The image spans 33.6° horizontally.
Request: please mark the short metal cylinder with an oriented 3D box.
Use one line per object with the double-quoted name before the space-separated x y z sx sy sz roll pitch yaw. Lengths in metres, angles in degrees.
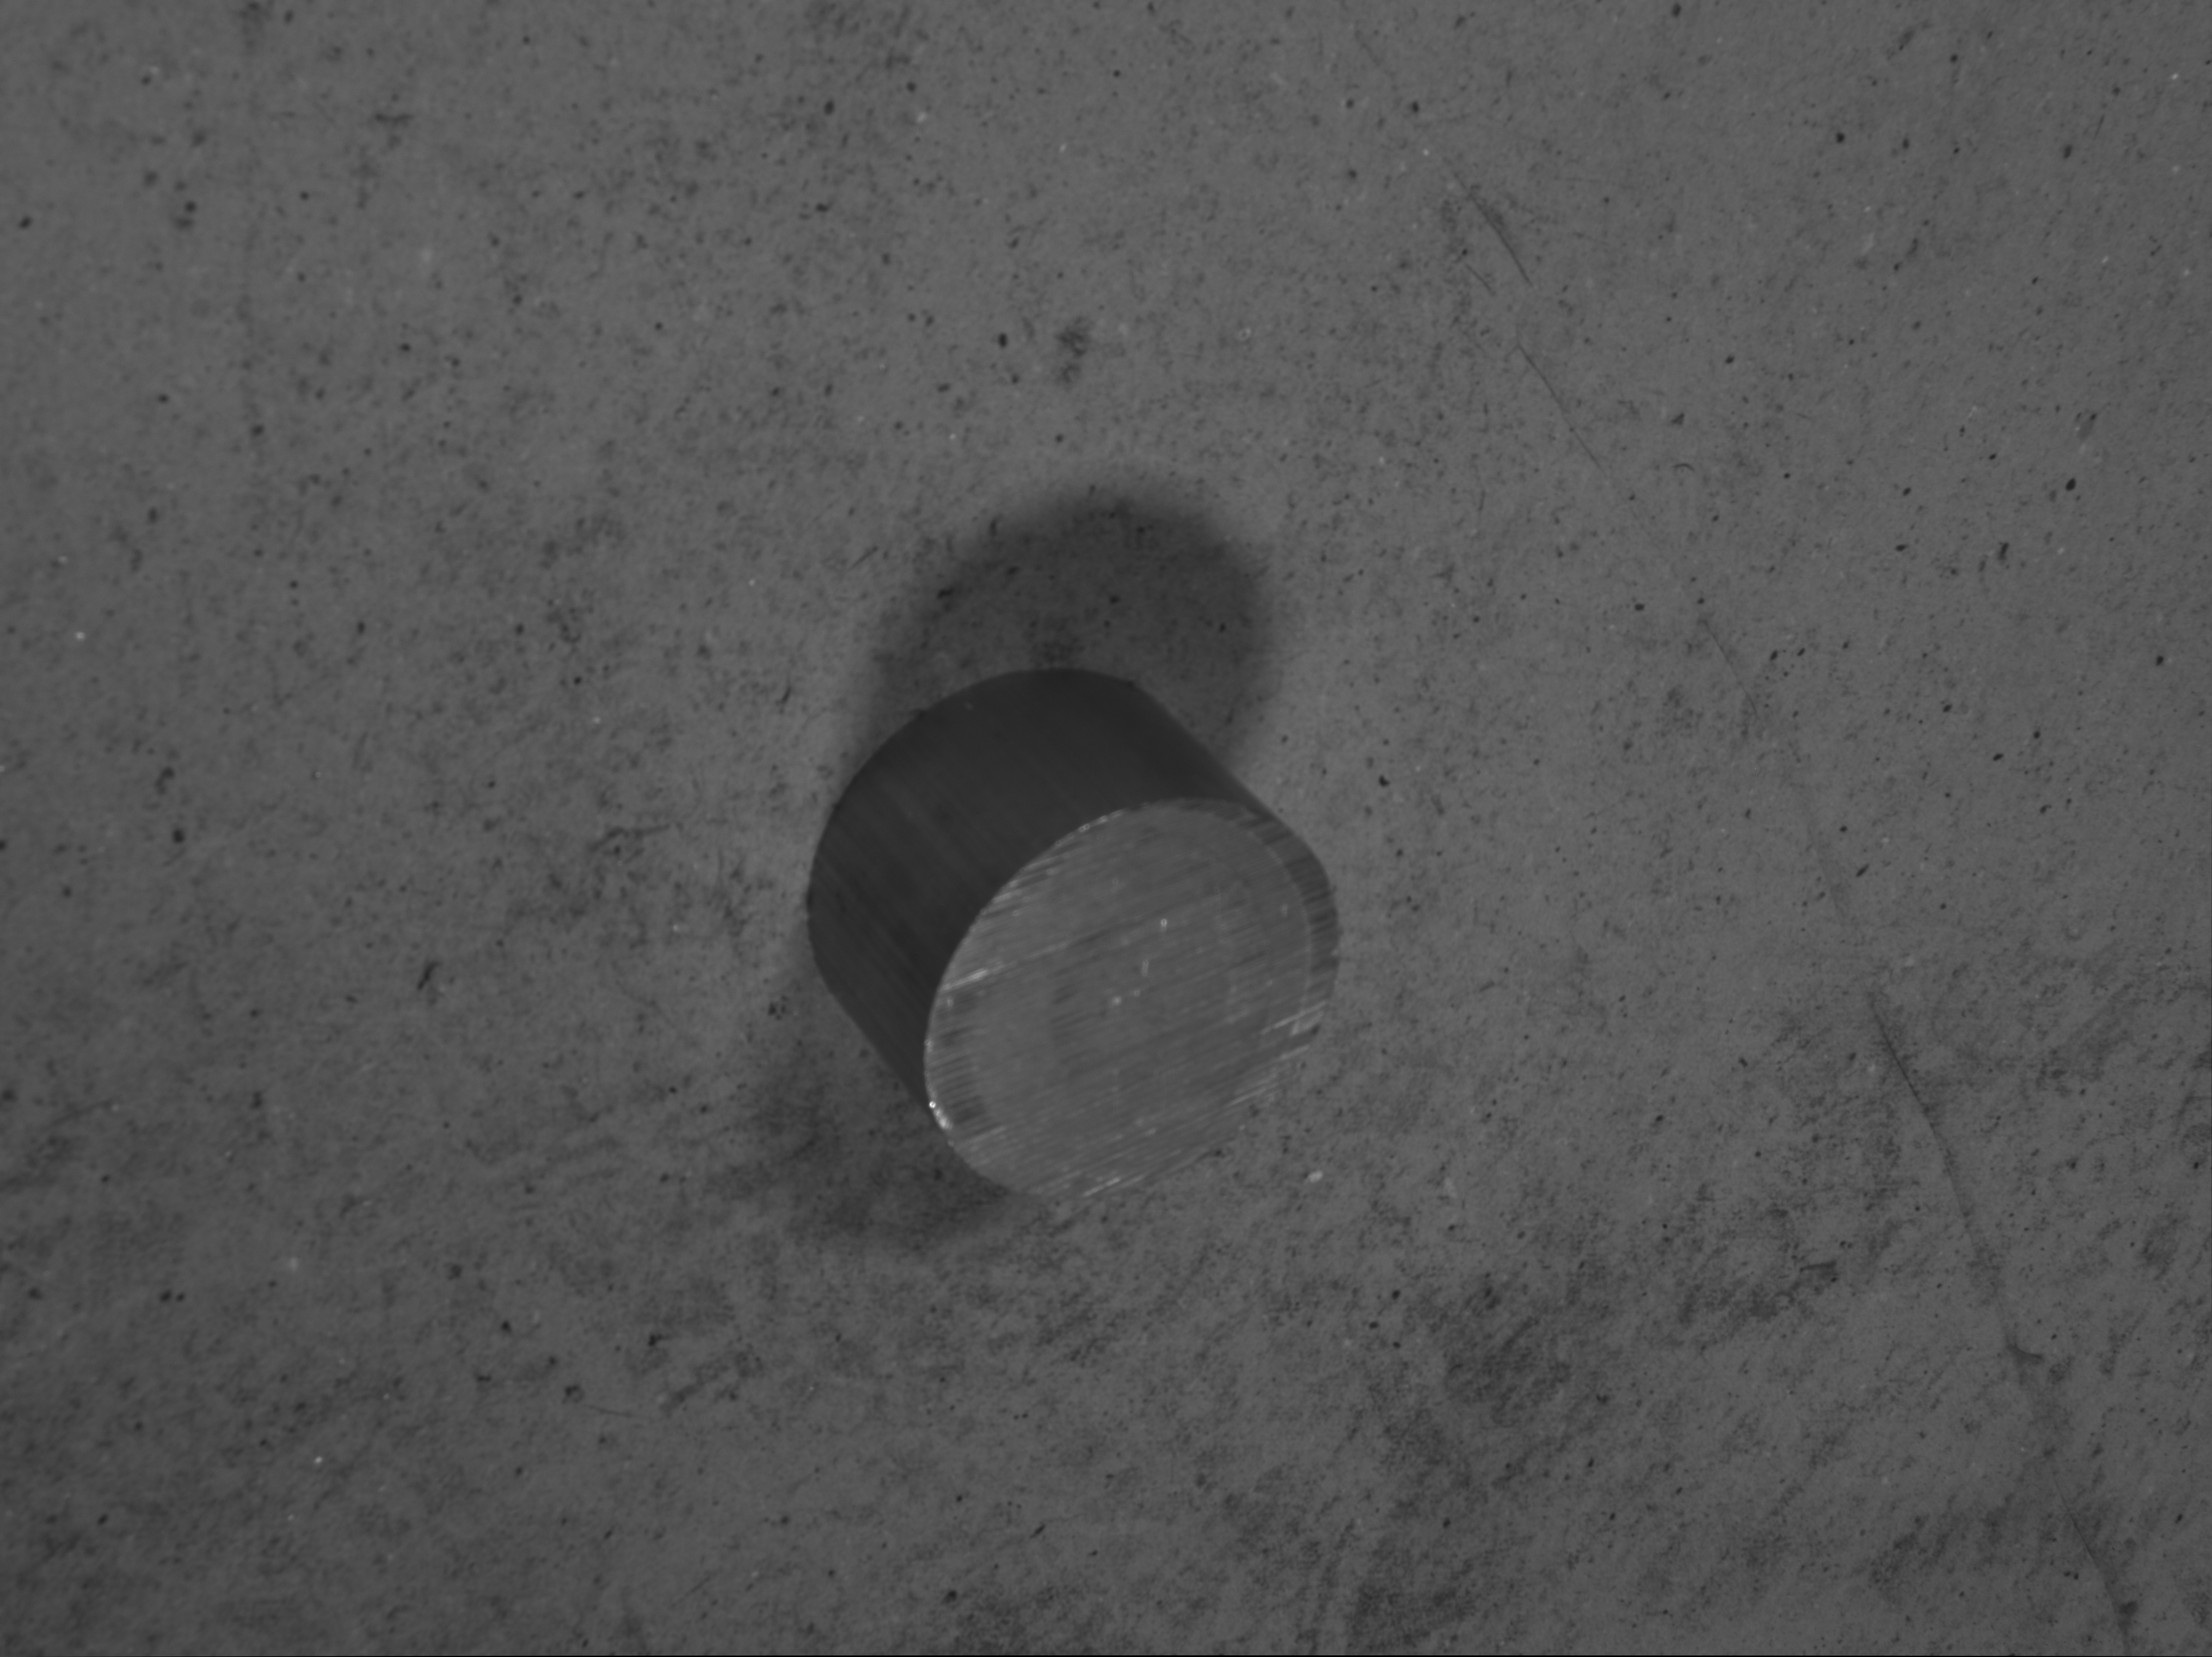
"short metal cylinder" 0.001 0.019 0.647 0.080 0.050 0.080 -15 125 -22
